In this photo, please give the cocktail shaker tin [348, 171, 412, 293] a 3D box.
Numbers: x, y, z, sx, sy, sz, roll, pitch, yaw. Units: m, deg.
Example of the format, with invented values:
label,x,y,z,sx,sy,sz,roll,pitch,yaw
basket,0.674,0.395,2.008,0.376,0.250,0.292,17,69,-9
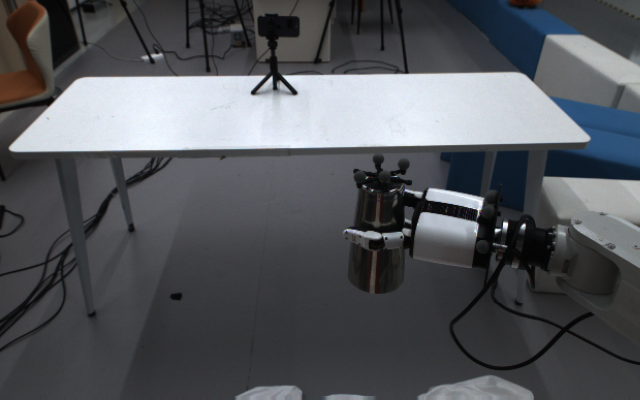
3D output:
label,x,y,z,sx,sy,sz,roll,pitch,yaw
cocktail shaker tin,0.092,0.047,0.743,0.093,0.170,0.093,0,30,0
